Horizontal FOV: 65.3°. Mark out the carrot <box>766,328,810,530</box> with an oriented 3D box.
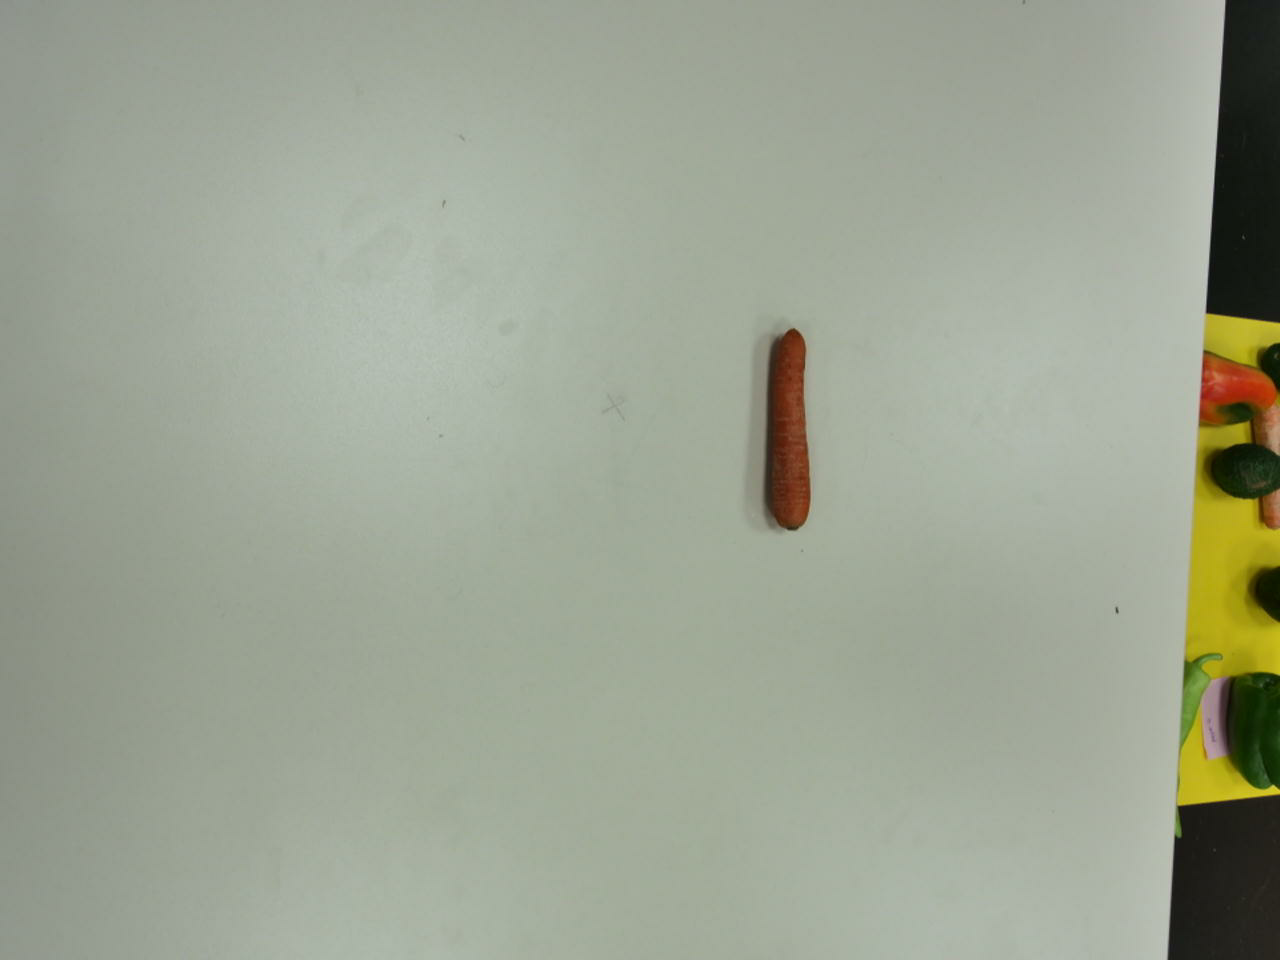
[{"bbox_3d":[0.090,-0.031,0.598,0.024,0.023,0.122,2,90,-22],"label":"carrot"}]
